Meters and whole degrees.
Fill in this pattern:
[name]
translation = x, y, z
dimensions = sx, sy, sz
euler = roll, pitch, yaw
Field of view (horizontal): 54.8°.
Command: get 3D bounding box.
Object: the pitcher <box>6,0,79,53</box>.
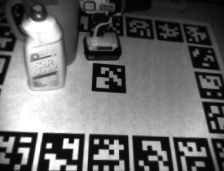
[pitcher]
translation = -0.159, -0.190, 0.565
dimensions = 0.190, 0.242, 0.132
euler = -21, 68, -19

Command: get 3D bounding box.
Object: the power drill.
[power drill]
translation = 0.007, -0.189, 0.606
dimensions = 0.186, 0.186, 0.057
euler = 2, 64, -15

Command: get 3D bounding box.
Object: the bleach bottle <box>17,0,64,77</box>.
[bleach bottle]
translation = -0.168, -0.111, 0.498
dimensions = 0.103, 0.251, 0.067
euler = -3, 62, -10
